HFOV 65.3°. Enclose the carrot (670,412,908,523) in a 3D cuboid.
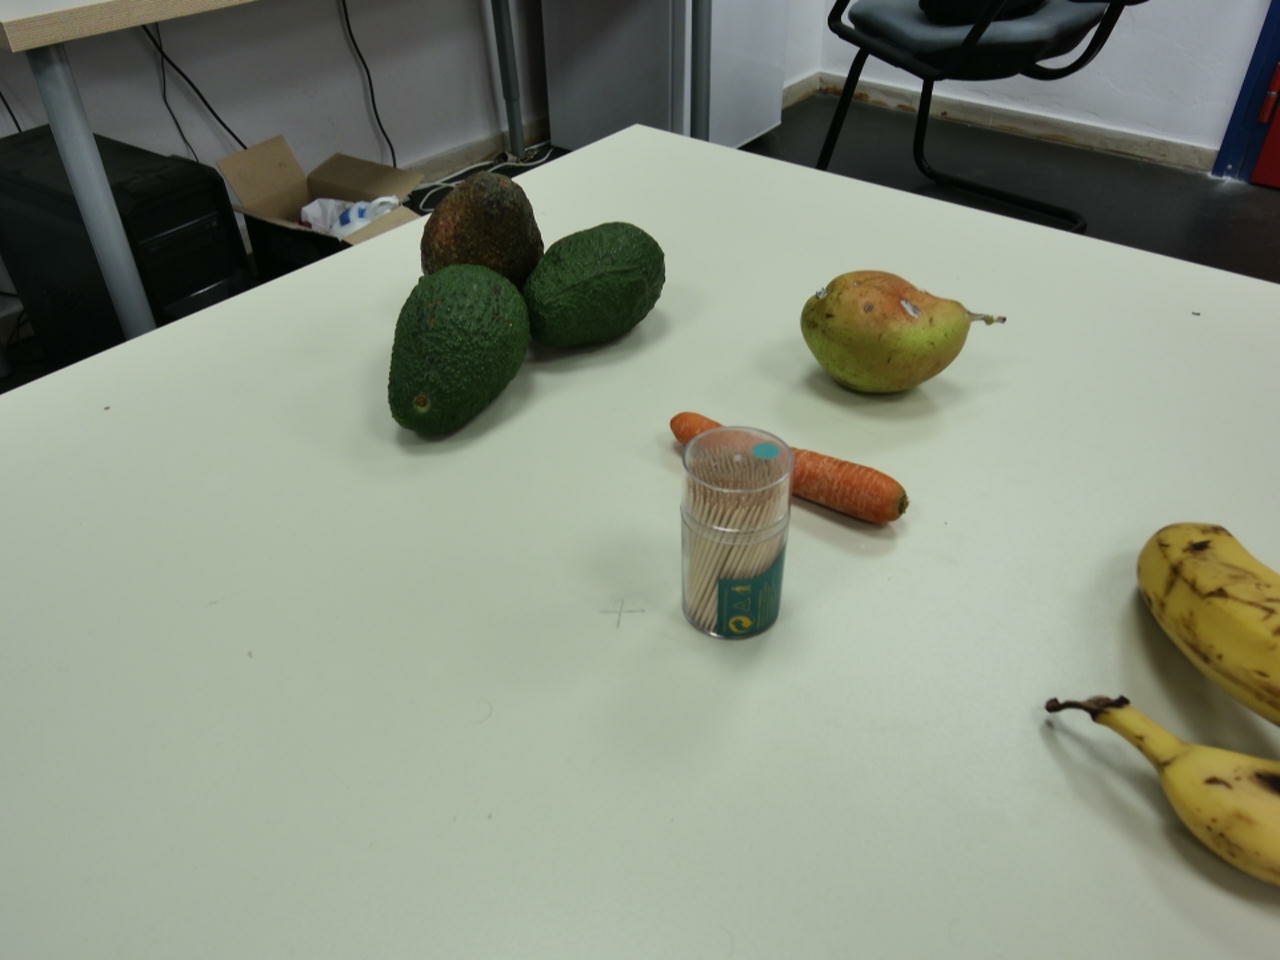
[{"bbox_3d":[0.065,-0.008,0.458,0.122,0.023,0.024,24,42,29],"label":"carrot"}]
